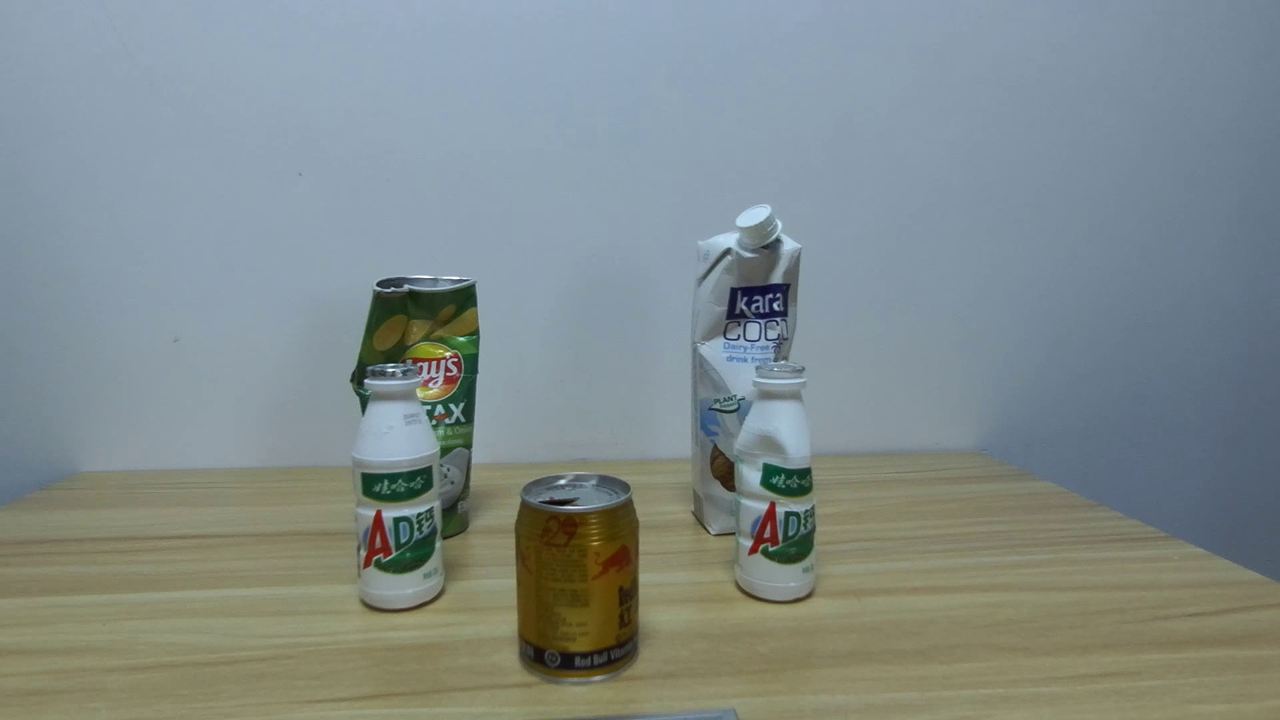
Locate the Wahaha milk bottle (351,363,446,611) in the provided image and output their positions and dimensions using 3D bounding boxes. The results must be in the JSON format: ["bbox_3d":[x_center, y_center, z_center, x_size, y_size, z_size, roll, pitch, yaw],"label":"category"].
[{"bbox_3d":[-0.152,0.078,0.441,0.053,0.147,0.053,0,8,0],"label":"Wahaha milk bottle"}]

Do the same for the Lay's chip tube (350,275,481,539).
[{"bbox_3d":[-0.173,0.036,0.558,0.069,0.201,0.077,3,11,21],"label":"Lay's chip tube"}]

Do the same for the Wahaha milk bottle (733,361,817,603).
[{"bbox_3d":[0.087,0.076,0.450,0.055,0.149,0.055,0,10,0],"label":"Wahaha milk bottle"}]

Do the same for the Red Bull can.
[{"bbox_3d":[-0.033,0.114,0.380,0.067,0.093,0.067,1,9,0],"label":"Red Bull can"}]
